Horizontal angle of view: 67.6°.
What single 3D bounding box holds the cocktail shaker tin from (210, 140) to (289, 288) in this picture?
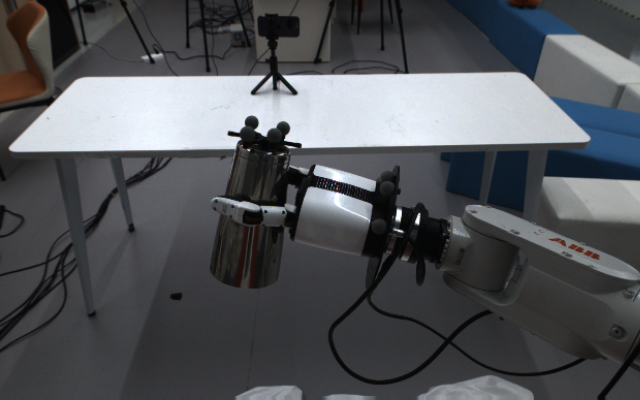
[{"bbox_3d":[-0.082,0.014,0.610,0.093,0.170,0.093,10,19,-4],"label":"cocktail shaker tin"}]
